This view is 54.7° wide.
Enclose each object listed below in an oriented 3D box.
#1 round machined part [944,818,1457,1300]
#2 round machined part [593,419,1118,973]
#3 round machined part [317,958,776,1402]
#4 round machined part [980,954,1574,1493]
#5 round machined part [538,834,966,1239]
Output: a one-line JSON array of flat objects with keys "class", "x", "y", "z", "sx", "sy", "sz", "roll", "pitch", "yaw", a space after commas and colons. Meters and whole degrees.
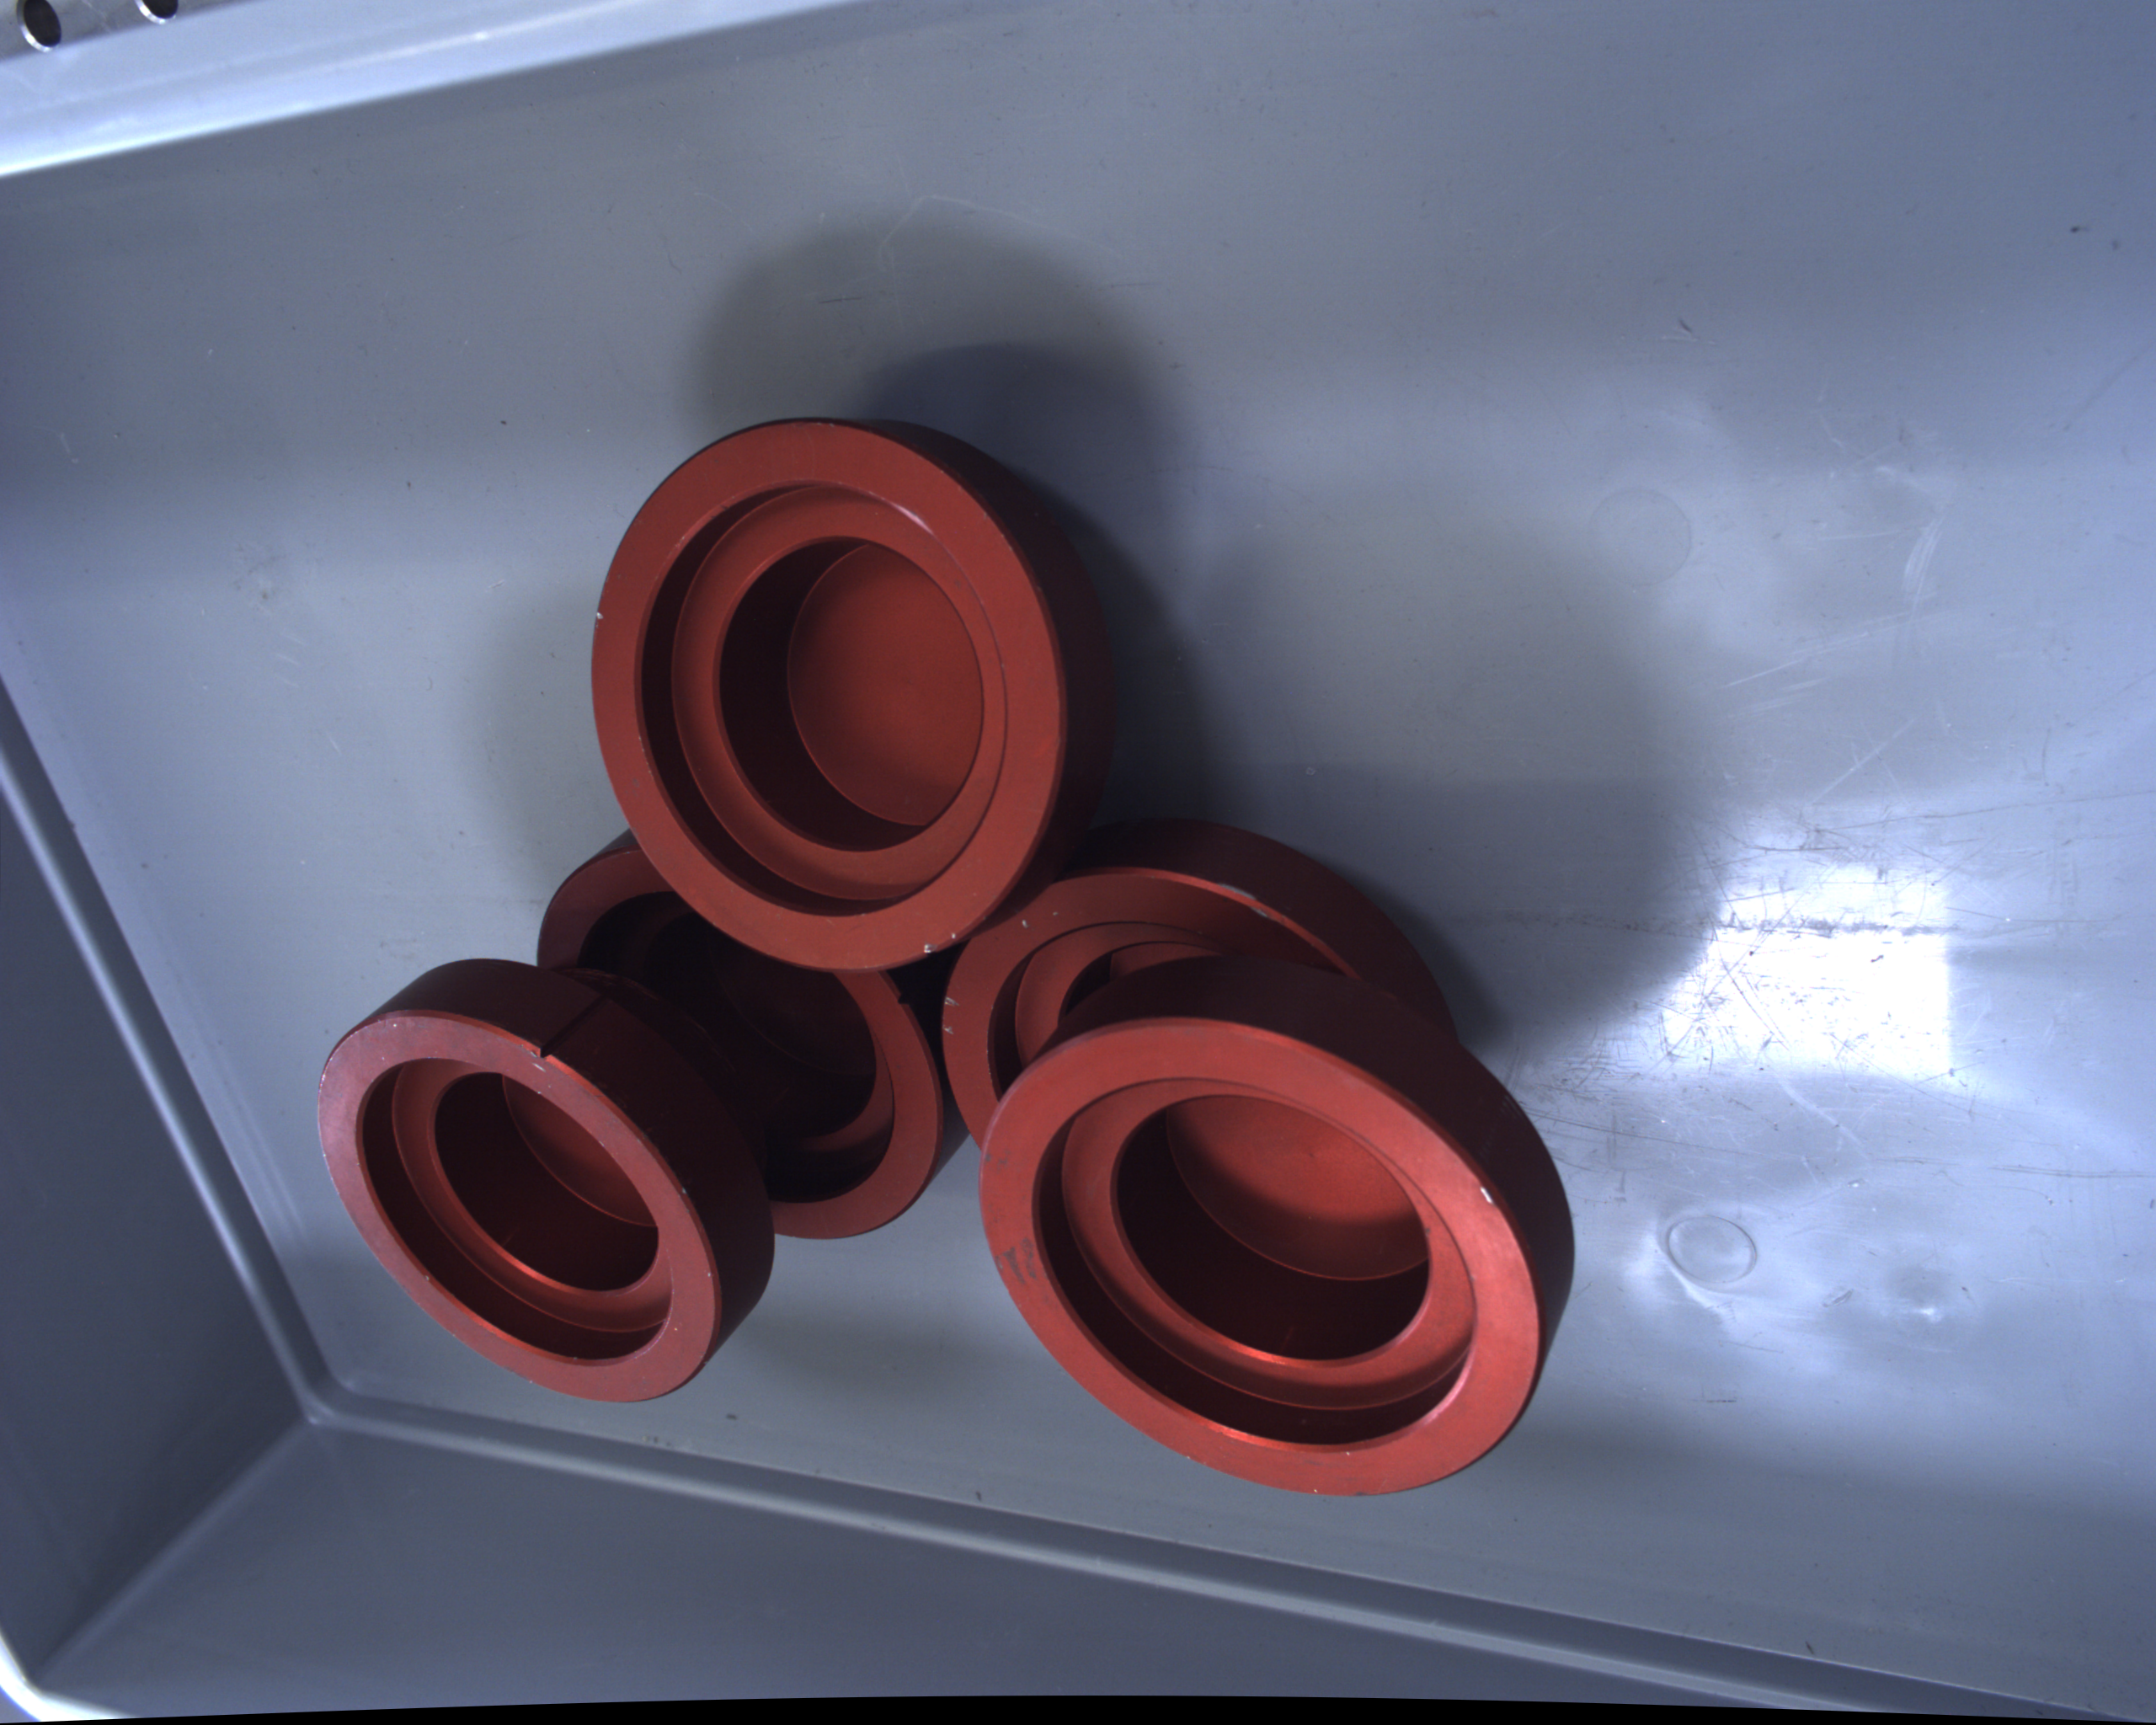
[{"class": "round machined part", "x": 0.027, "y": 0.034, "z": 0.403, "sx": 0.098, "sy": 0.042, "sz": 0.097, "roll": 13, "pitch": 124, "yaw": 21}, {"class": "round machined part", "x": -0.037, "y": -0.032, "z": 0.383, "sx": 0.098, "sy": 0.042, "sz": 0.097, "roll": 6, "pitch": 103, "yaw": 26}, {"class": "round machined part", "x": -0.105, "y": 0.061, "z": 0.435, "sx": 0.098, "sy": 0.042, "sz": 0.097, "roll": 13, "pitch": 124, "yaw": 21}, {"class": "round machined part", "x": 0.036, "y": 0.057, "z": 0.358, "sx": 0.098, "sy": 0.042, "sz": 0.097, "roll": 13, "pitch": 124, "yaw": 21}, {"class": "round machined part", "x": -0.063, "y": 0.029, "z": 0.447, "sx": 0.098, "sy": 0.042, "sz": 0.097, "roll": 13, "pitch": 124, "yaw": 21}]
